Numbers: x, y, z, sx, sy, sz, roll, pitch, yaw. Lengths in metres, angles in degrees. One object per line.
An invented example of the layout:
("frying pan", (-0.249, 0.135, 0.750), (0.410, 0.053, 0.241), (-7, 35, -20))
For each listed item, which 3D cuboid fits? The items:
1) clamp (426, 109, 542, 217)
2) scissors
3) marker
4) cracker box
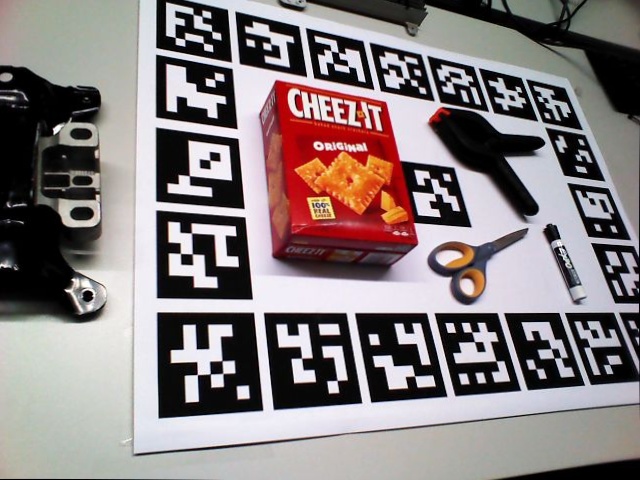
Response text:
("clamp", (0.258, -0.143, 0.815), (0.203, 0.037, 0.164), (31, 54, -7))
("scissors", (0.238, 0.019, 0.712), (0.201, 0.016, 0.087), (-27, 76, -36))
("marker", (0.369, 0.032, 0.764), (0.019, 0.020, 0.120), (0, 63, -24))
("cracker box", (0.024, -0.078, 0.636), (0.164, 0.072, 0.212), (5, 62, -22))
